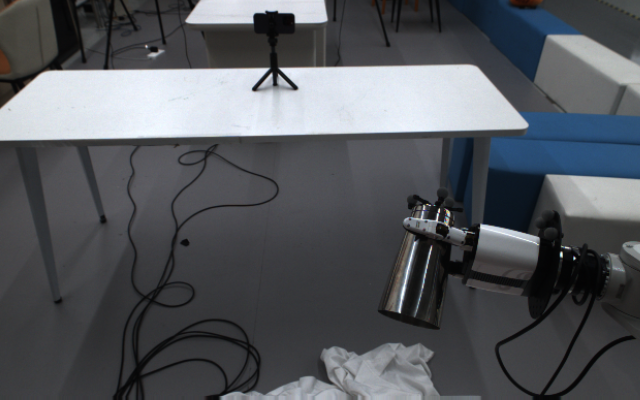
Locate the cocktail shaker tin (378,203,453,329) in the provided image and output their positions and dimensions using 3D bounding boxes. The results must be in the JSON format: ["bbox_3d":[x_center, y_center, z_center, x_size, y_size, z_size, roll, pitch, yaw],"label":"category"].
[{"bbox_3d":[0.153,0.094,0.726,0.093,0.093,0.170,13,71,15],"label":"cocktail shaker tin"}]
